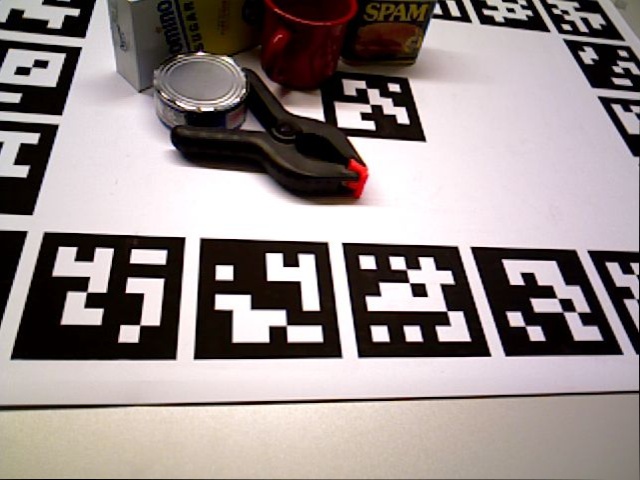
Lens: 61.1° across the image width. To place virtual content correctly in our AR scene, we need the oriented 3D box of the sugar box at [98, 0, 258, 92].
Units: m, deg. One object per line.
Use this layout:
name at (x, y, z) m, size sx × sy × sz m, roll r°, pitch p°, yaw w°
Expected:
sugar box at (-0.118, -0.213, 0.515) m, size 0.172 × 0.095 × 0.045 m, roll -32°, pitch 66°, yaw -31°

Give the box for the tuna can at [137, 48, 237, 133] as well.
tuna can at (-0.118, -0.129, 0.485) m, size 0.085 × 0.034 × 0.084 m, roll 5°, pitch 56°, yaw -9°

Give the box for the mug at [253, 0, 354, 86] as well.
mug at (-0.026, -0.198, 0.521) m, size 0.093 × 0.083 × 0.115 m, roll 23°, pitch 55°, yaw 3°

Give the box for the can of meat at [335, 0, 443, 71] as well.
can of meat at (0.066, -0.230, 0.573) m, size 0.100 × 0.086 × 0.057 m, roll -4°, pitch 54°, yaw -17°

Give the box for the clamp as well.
clamp at (-0.039, -0.077, 0.472) m, size 0.165 × 0.037 × 0.119 m, roll 33°, pitch 50°, yaw 6°
